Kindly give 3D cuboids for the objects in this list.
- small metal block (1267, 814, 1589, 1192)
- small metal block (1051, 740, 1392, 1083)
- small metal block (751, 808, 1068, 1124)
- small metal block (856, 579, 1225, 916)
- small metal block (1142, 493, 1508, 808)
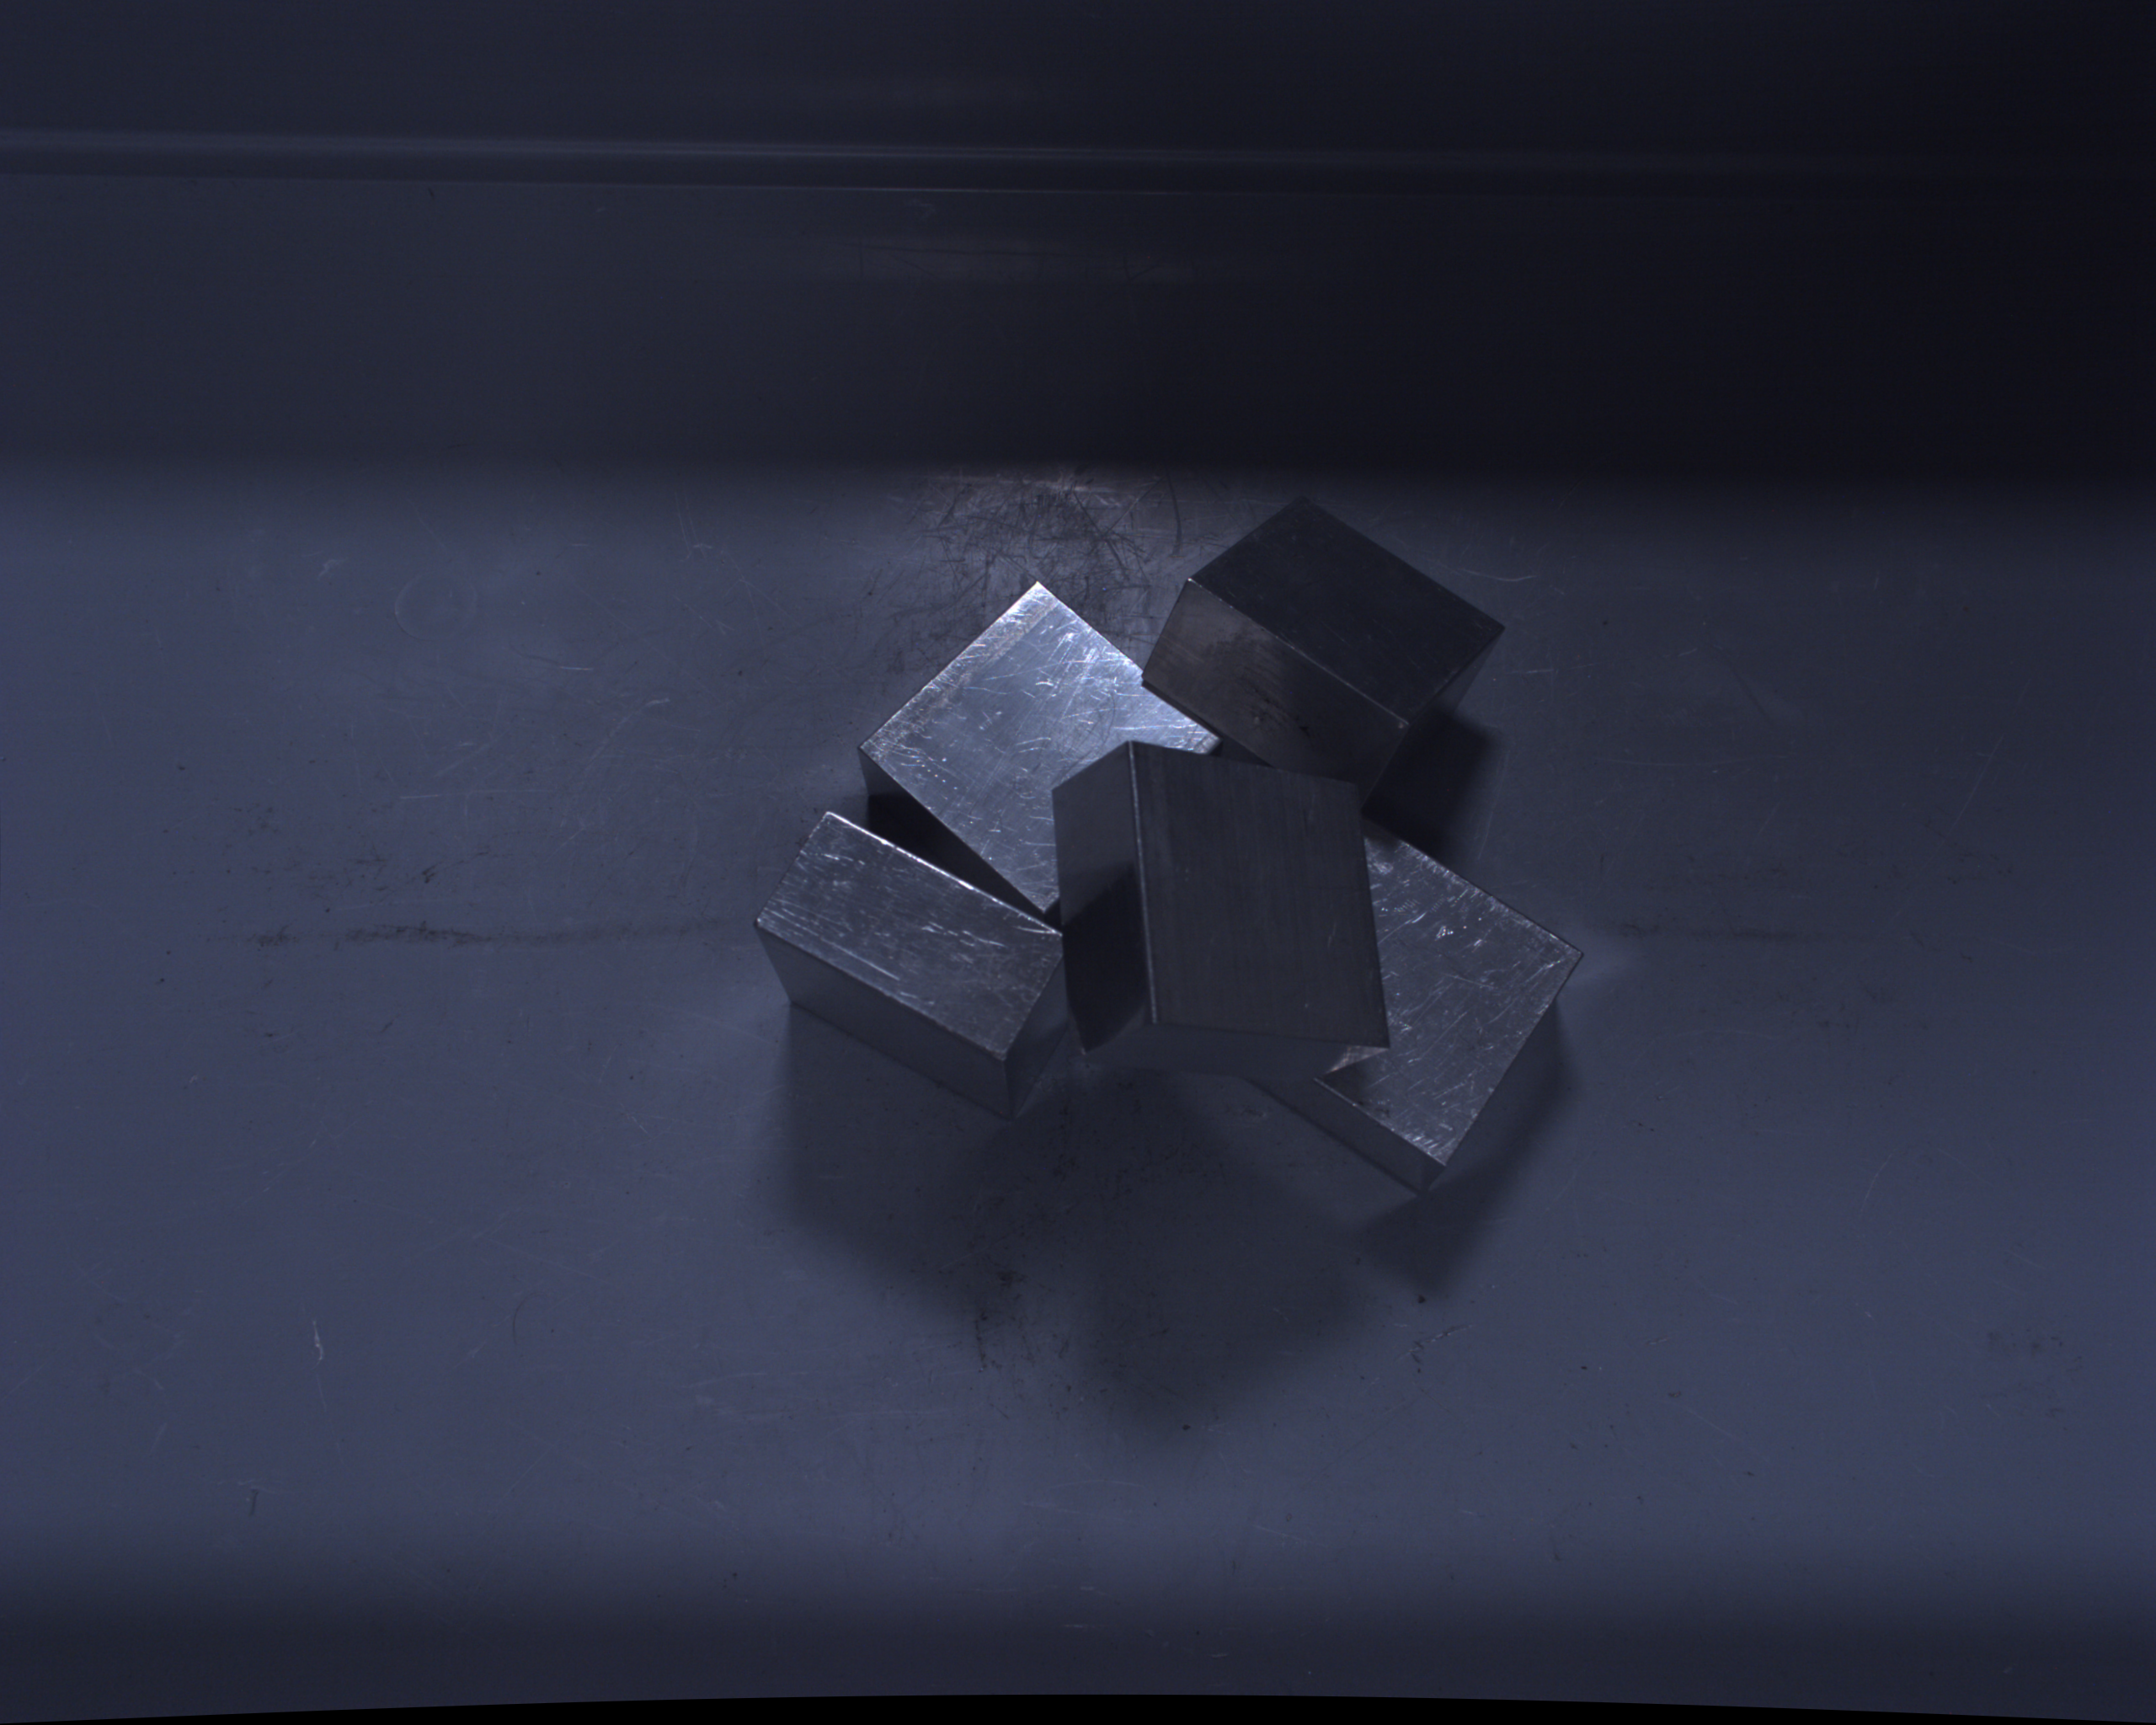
[{"bbox_3d":[0.060,0.027,0.399,0.050,0.025,0.050,34,73,11],"label":"small metal block"},{"bbox_3d":[0.025,0.010,0.366,0.050,0.025,0.050,9,66,-32],"label":"small metal block"},{"bbox_3d":[-0.029,0.020,0.386,0.050,0.050,0.025,28,73,9],"label":"small metal block"},{"bbox_3d":[-0.007,-0.019,0.414,0.050,0.025,0.050,42,75,13],"label":"small metal block"},{"bbox_3d":[0.049,-0.042,0.412,0.050,0.025,0.050,35,41,11],"label":"small metal block"}]
